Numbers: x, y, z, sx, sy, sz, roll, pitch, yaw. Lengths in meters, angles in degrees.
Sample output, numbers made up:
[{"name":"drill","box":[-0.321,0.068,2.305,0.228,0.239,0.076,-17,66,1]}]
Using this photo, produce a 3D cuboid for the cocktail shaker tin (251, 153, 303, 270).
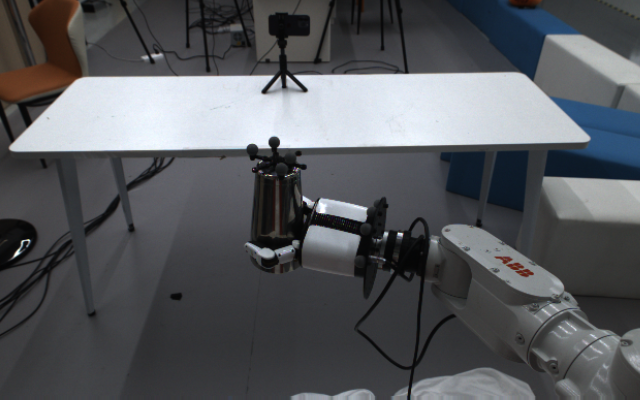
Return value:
[{"name":"cocktail shaker tin","box":[-0.066,0.020,0.753,0.093,0.170,0.093,2,34,-2]}]
